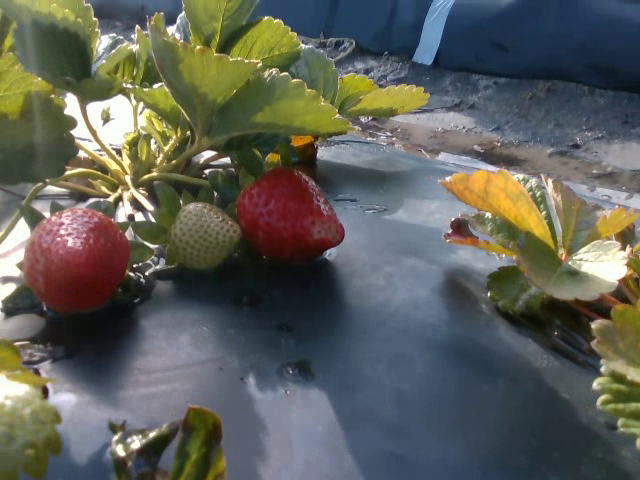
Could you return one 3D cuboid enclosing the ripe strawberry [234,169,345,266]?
[{"bbox_3d":[-0.010,-0.010,0.278,0.064,0.049,0.050,35,-6,38],"label":"ripe strawberry"}]
